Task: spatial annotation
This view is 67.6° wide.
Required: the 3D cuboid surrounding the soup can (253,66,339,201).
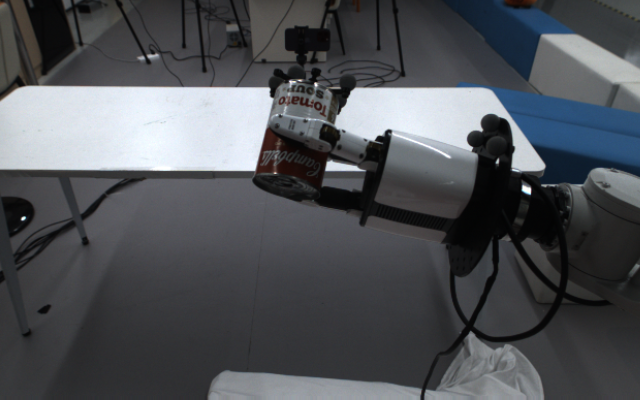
[{"bbox_3d":[-0.020,-0.059,0.482,0.067,0.067,0.101,9,74,9],"label":"soup can"}]
